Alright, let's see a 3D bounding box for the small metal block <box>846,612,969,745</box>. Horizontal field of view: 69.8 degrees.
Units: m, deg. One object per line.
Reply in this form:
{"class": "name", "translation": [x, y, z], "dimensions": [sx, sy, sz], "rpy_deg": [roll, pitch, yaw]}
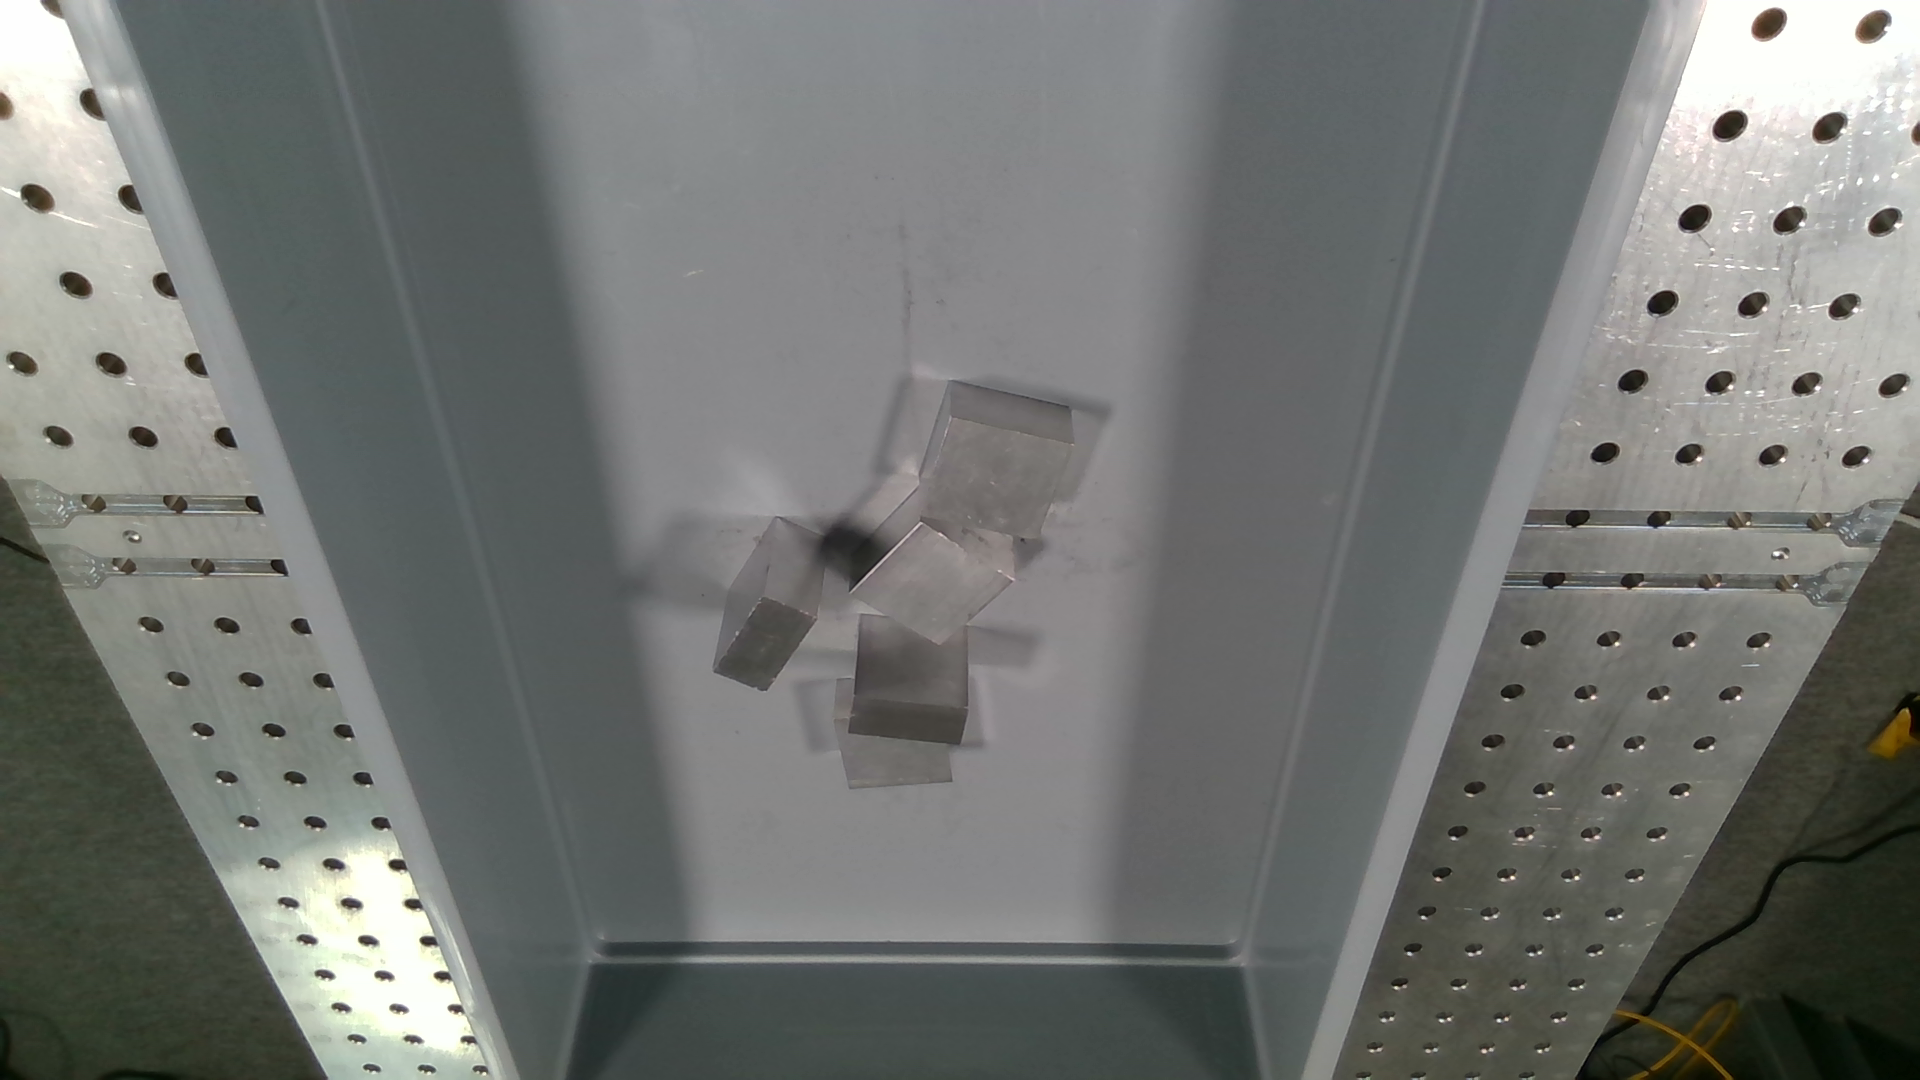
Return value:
{"class": "small metal block", "translation": [-0.023, 0.061, 0.613], "dimensions": [0.050, 0.050, 0.025], "rpy_deg": [7, 130, -6]}

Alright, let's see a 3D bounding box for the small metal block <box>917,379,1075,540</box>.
{"class": "small metal block", "translation": [0.014, -0.031, 0.550], "dimensions": [0.050, 0.025, 0.050], "rpy_deg": [12, 129, -10]}

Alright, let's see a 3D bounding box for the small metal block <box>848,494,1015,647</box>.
{"class": "small metal block", "translation": [-0.012, 0.012, 0.586], "dimensions": [0.050, 0.025, 0.050], "rpy_deg": [31, 123, -24]}

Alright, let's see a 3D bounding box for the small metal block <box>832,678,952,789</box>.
{"class": "small metal block", "translation": [-0.031, 0.090, 0.653], "dimensions": [0.050, 0.025, 0.050], "rpy_deg": [-4, 130, 4]}

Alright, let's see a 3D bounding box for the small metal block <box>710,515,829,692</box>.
{"class": "small metal block", "translation": [-0.080, 0.027, 0.583], "dimensions": [0.025, 0.050, 0.050], "rpy_deg": [25, 126, -18]}
